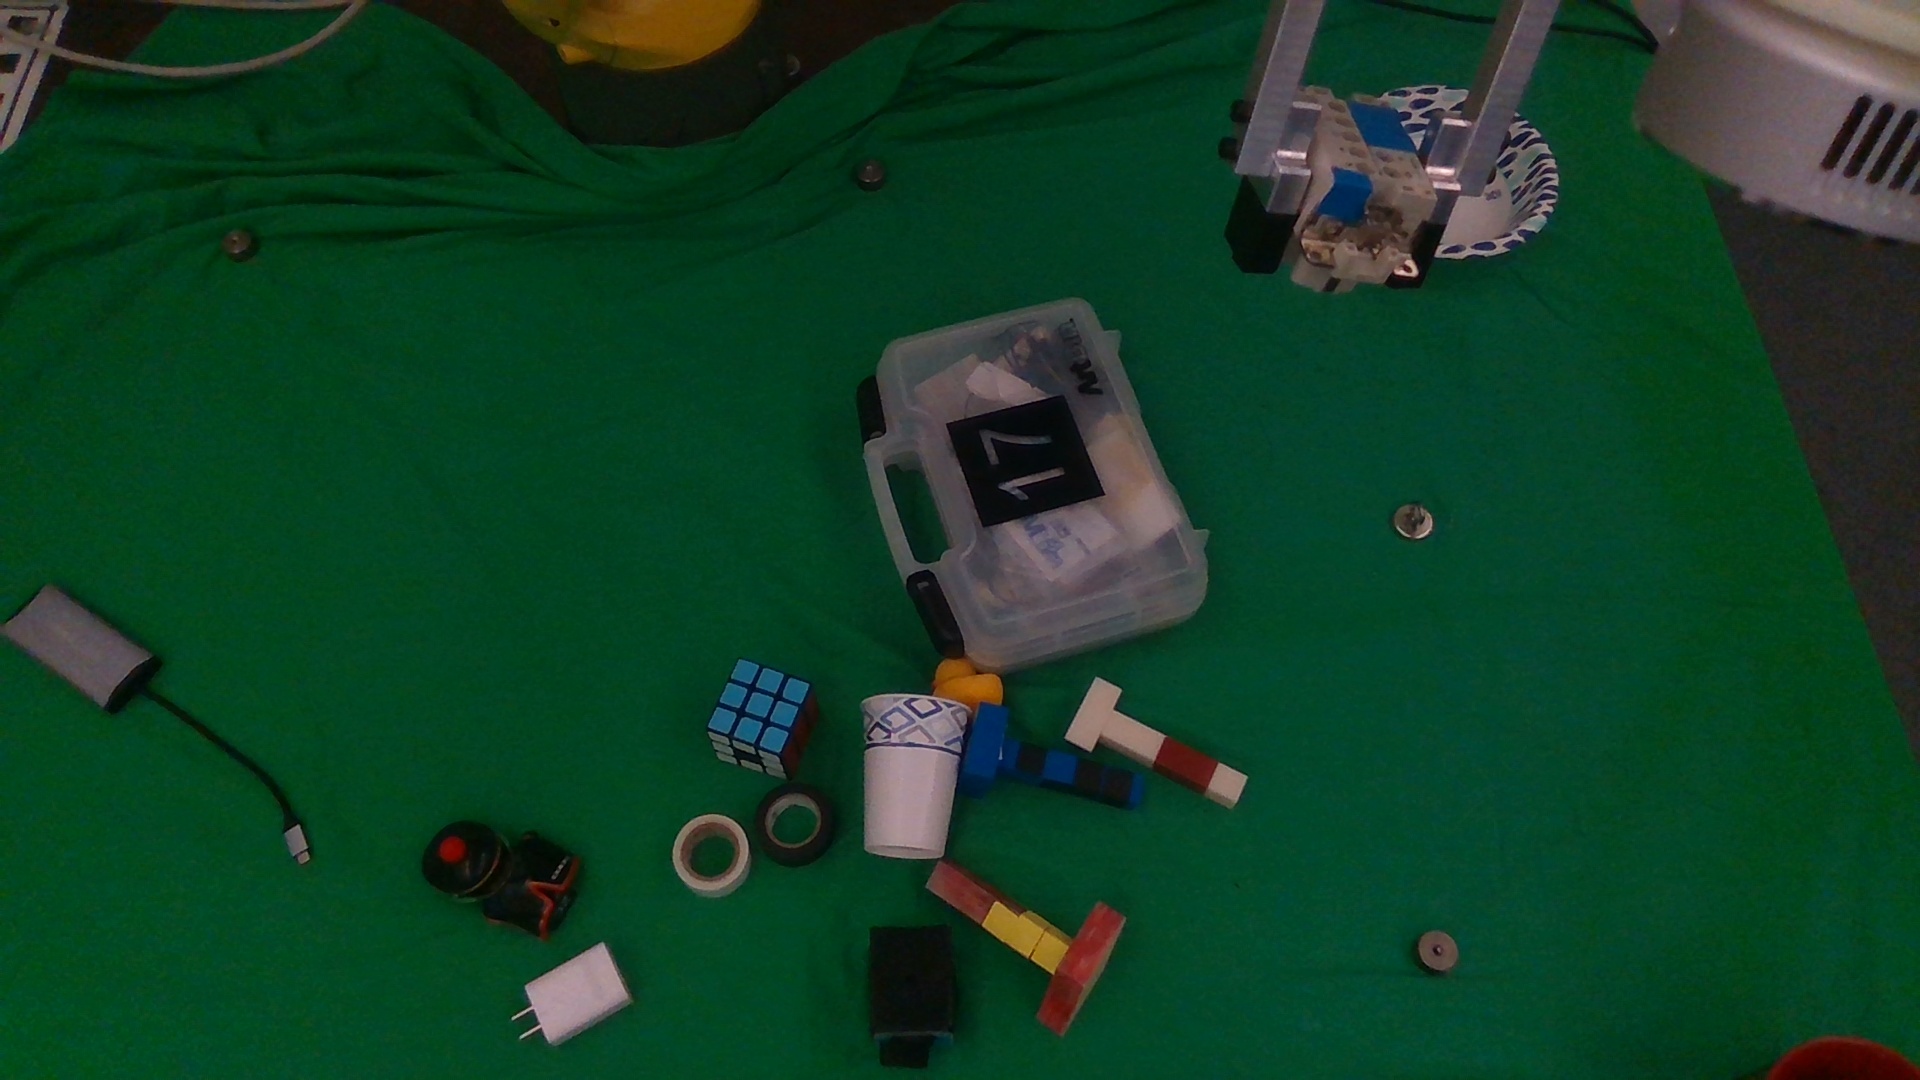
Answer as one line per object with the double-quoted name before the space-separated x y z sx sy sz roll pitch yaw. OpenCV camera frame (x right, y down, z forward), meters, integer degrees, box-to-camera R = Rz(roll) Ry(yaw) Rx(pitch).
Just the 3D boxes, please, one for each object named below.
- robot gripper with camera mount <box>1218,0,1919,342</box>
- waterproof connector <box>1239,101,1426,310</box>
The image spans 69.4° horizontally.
"robot gripper with camera mount" 0.124 -0.085 0.288 0.119 0.158 0.193 -1 42 -11
"waterproof connector" 0.100 -0.092 0.383 0.035 0.037 0.065 1 51 -14
